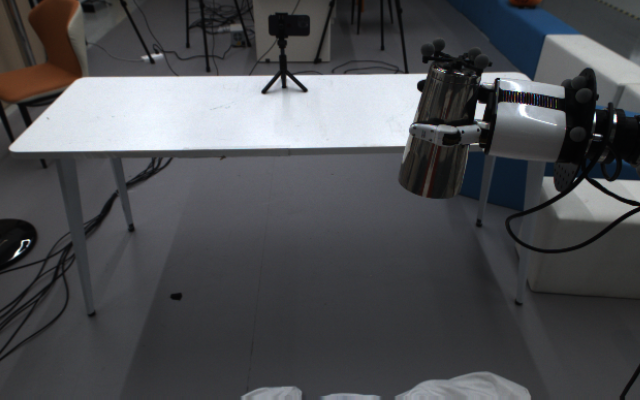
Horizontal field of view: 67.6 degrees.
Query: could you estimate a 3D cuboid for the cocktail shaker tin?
[{"bbox_3d":[0.167,-0.099,0.663,0.093,0.170,0.093,4,32,-2],"label":"cocktail shaker tin"}]
